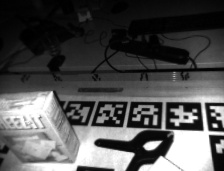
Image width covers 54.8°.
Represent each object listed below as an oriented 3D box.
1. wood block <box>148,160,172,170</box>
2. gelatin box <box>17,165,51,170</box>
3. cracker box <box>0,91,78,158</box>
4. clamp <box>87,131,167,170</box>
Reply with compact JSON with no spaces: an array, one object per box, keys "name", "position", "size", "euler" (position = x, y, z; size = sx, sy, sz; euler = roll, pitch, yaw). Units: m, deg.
[{"name":"wood block","position":[0.052,0.259,0.428],"size":[0.207,0.092,0.088],"euler":[-39,46,-24]},{"name":"gelatin box","position":[-0.212,0.246,0.556],"size":[0.089,0.030,0.073],"euler":[-1,49,15]},{"name":"cracker box","position":[-0.201,0.105,0.546],"size":[0.163,0.215,0.072],"euler":[-2,46,12]},{"name":"clamp","position":[0.050,0.165,0.551],"size":[0.203,0.037,0.163],"euler":[-23,46,-6]}]
